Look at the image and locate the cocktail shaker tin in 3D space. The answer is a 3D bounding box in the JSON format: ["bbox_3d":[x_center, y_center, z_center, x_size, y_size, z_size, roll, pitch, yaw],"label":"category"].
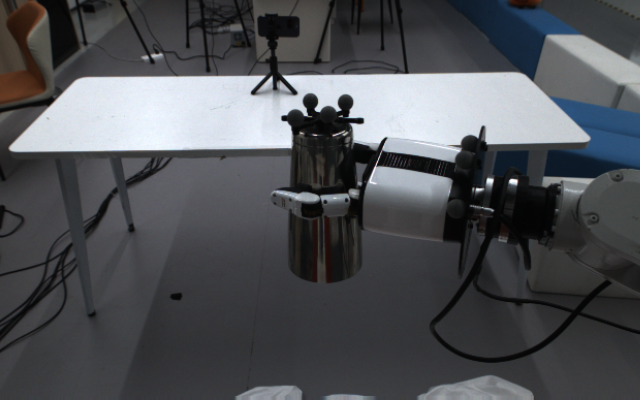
[{"bbox_3d":[0.007,-0.002,0.556,0.093,0.170,0.093,-1,26,1],"label":"cocktail shaker tin"}]
